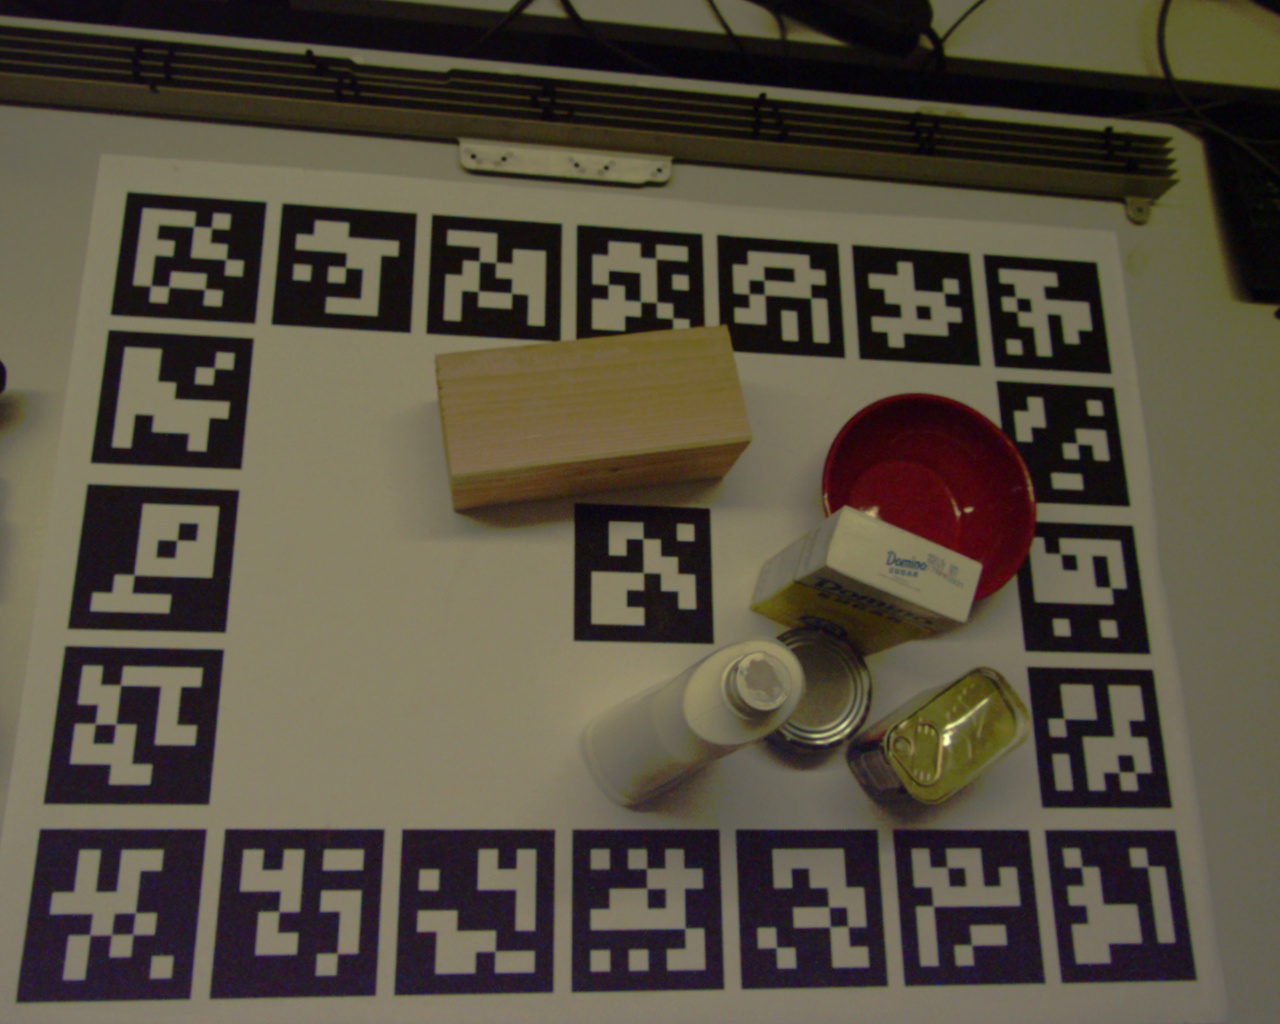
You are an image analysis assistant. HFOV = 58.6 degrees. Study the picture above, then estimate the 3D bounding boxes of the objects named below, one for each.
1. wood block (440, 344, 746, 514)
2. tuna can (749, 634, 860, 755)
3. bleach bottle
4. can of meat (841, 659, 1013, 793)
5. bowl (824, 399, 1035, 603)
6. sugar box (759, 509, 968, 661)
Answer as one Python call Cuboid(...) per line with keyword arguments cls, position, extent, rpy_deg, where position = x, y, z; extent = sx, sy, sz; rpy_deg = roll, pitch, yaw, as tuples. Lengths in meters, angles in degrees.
Cuboid(cls="wood block", position=(-0.039, -0.061, 0.841), extent=(0.205, 0.090, 0.091), rpy_deg=(-7, 79, -11))
Cuboid(cls="tuna can", position=(0.113, 0.133, 0.828), extent=(0.085, 0.034, 0.086), rpy_deg=(2, 76, -7))
Cuboid(cls="bleach bottle", position=(0.032, 0.123, 0.709), extent=(0.102, 0.251, 0.068), rpy_deg=(-23, 78, -15))
Cuboid(cls="can of meat", position=(0.200, 0.156, 0.815), extent=(0.101, 0.084, 0.058), rpy_deg=(-28, 77, -17))
Cuboid(cls="bowl", position=(0.214, -0.003, 0.876), extent=(0.161, 0.055, 0.162), rpy_deg=(1, 73, -4))
Cuboid(cls="sugar box", position=(0.147, 0.056, 0.782), extent=(0.093, 0.176, 0.045), rpy_deg=(22, 73, 1))
